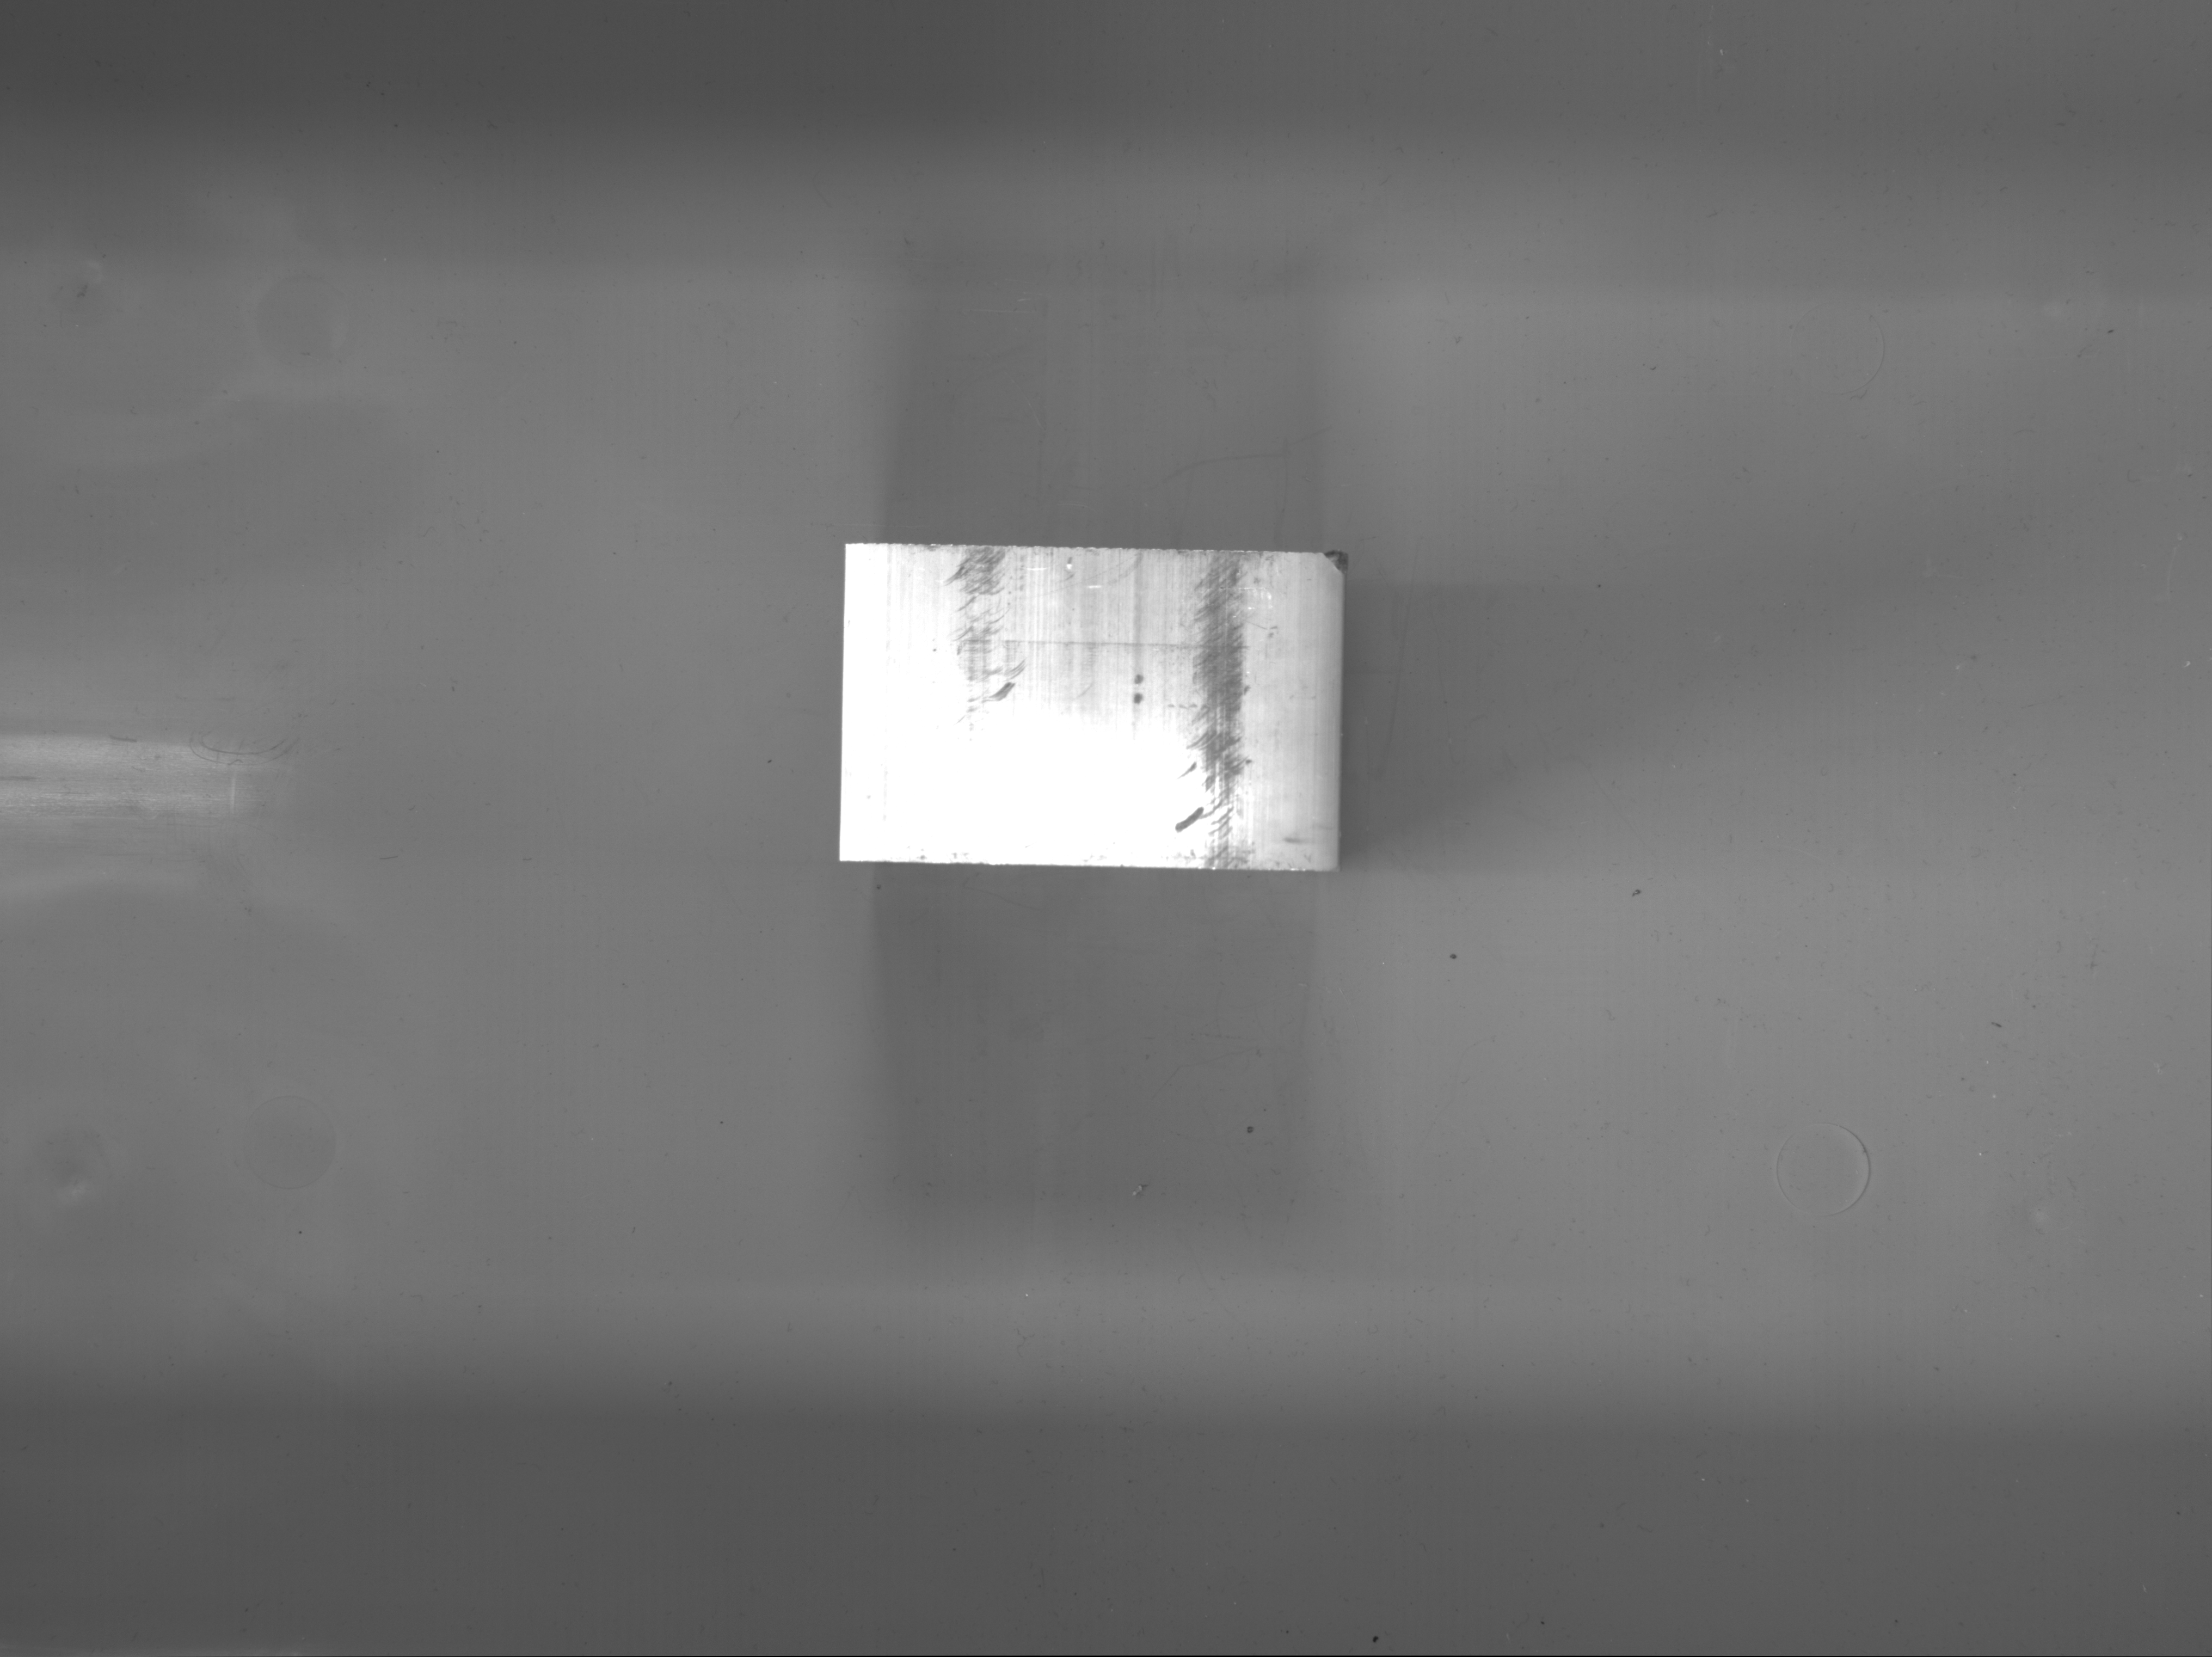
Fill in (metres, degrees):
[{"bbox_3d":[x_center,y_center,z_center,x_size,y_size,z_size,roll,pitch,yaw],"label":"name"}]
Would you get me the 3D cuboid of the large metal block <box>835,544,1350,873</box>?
[{"bbox_3d":[-0.002,-0.019,0.617,0.080,0.080,0.050,1,90,0],"label":"large metal block"}]
